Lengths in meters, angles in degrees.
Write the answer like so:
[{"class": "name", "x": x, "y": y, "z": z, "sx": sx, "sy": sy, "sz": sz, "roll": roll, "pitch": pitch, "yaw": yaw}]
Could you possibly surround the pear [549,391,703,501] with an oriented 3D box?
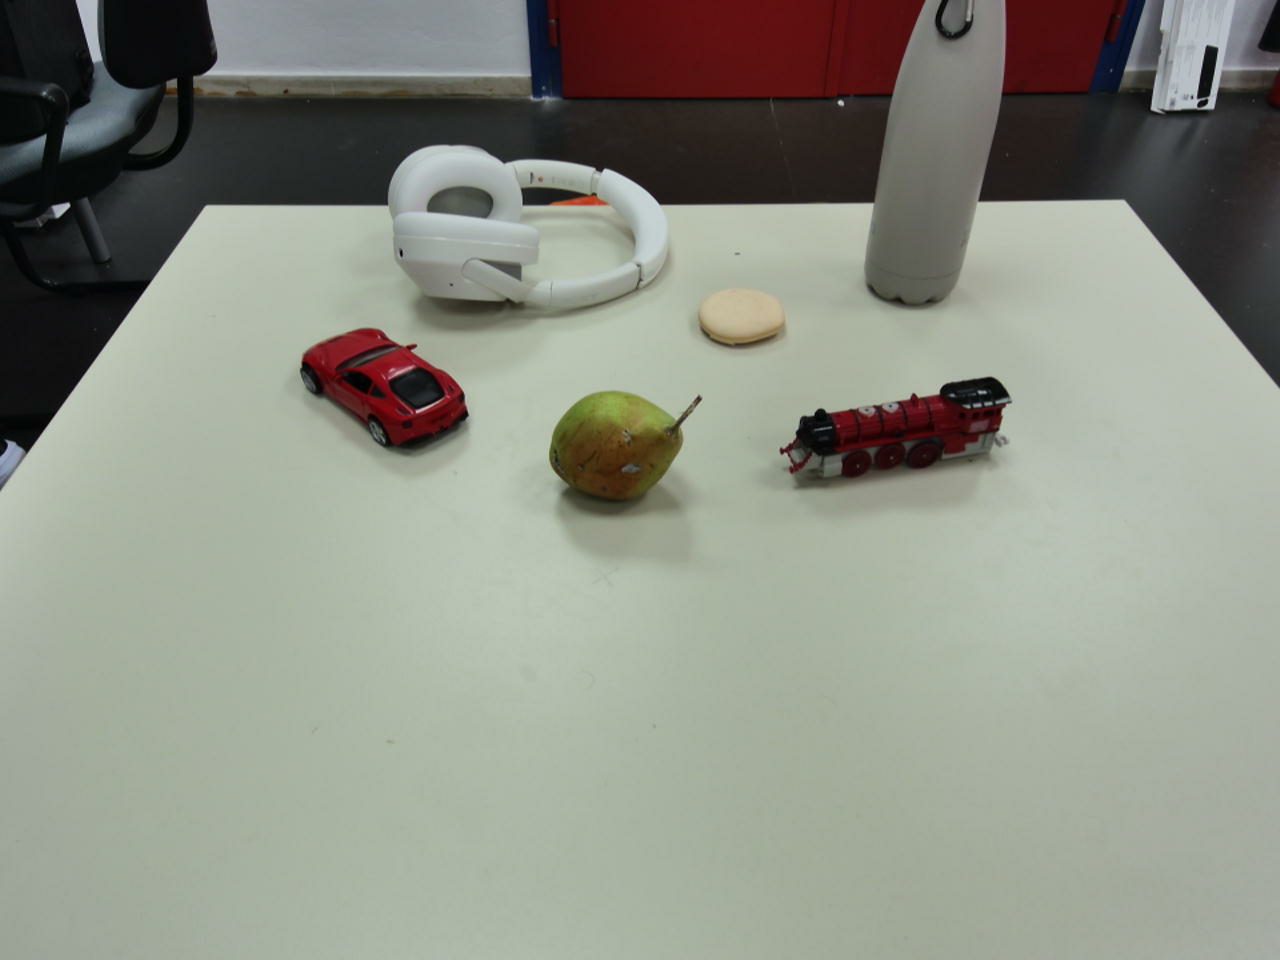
[{"class": "pear", "x": -0.013, "y": -0.021, "z": 0.570, "sx": 0.068, "sy": 0.069, "sz": 0.070, "roll": -28, "pitch": 46, "yaw": -29}]
